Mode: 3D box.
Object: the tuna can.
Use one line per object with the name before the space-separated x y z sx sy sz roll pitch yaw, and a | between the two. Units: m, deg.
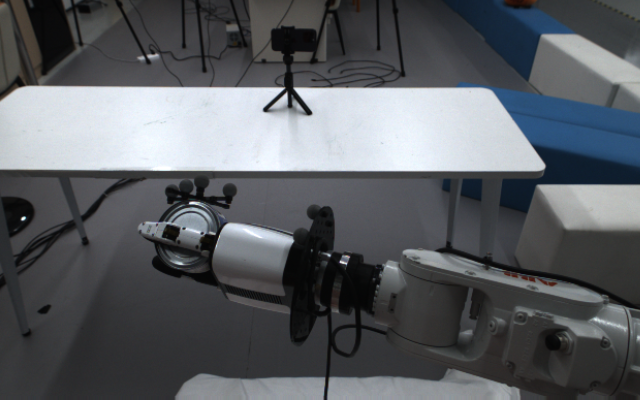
tuna can | -0.151 0.045 0.583 0.085 0.034 0.085 -5 71 14
